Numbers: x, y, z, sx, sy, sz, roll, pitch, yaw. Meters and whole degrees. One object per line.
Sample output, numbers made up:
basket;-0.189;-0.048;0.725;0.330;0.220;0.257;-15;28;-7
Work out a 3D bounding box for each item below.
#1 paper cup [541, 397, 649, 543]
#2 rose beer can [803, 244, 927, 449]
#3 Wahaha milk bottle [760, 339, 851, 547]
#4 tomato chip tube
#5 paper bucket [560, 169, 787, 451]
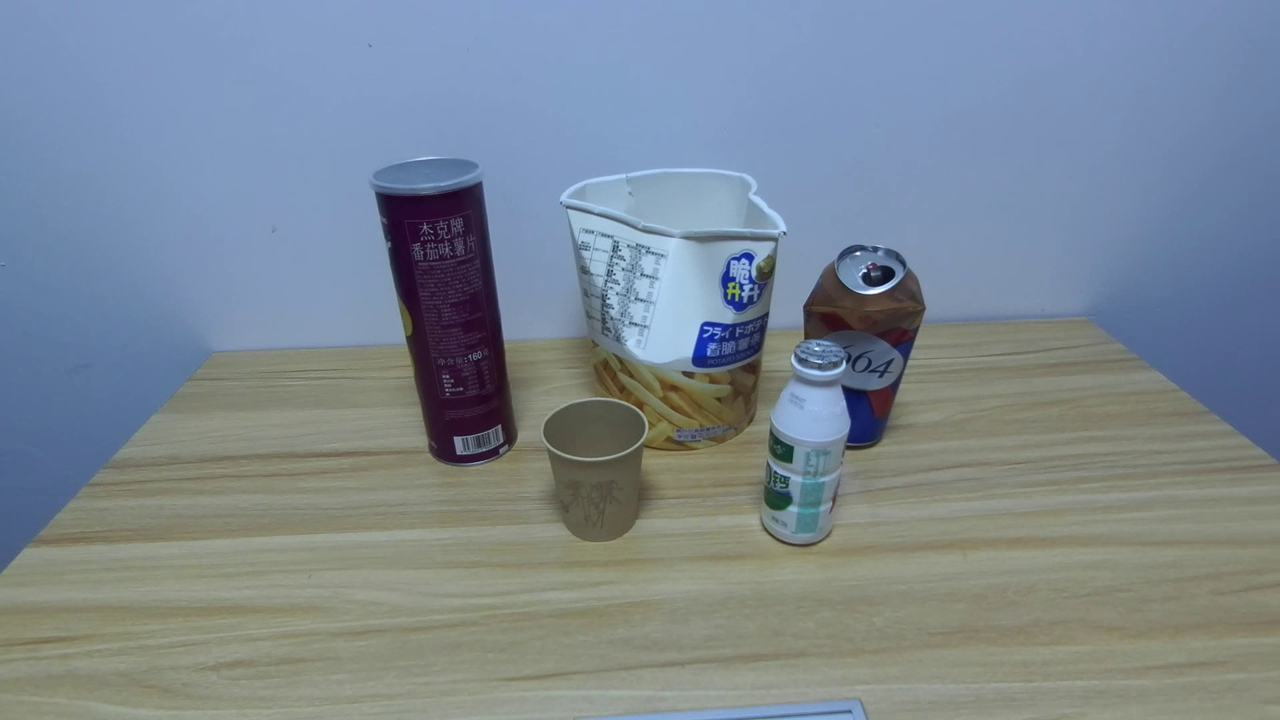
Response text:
paper cup;-0.030;0.082;0.506;0.075;0.082;0.075;-1;31;1
rose beer can;0.177;-0.009;0.573;0.069;0.168;0.069;-14;38;-13
Wahaha milk bottle;0.113;0.057;0.477;0.053;0.147;0.053;-1;30;1
tomato chip tube;-0.148;-0.032;0.558;0.078;0.234;0.078;-1;30;1
paper bucket;0.023;-0.043;0.605;0.163;0.202;0.168;-4;27;-2
